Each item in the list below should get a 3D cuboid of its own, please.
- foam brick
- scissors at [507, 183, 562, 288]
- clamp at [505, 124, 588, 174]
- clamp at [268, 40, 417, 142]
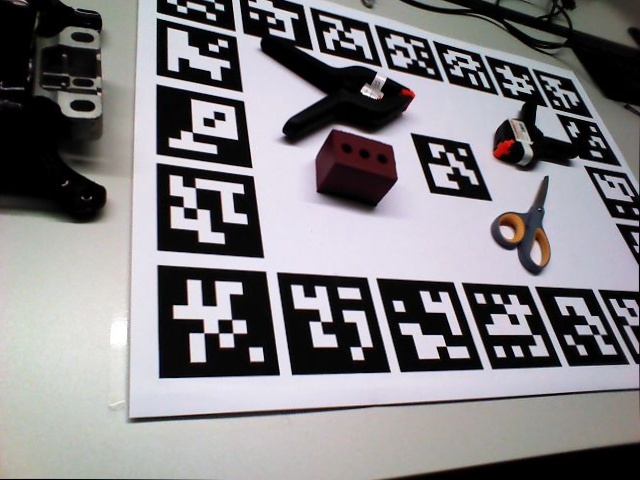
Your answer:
[{"bbox_3d":[0.050,-0.067,0.583,0.078,0.052,0.052,9,58,-16],"label":"foam brick"},{"bbox_3d":[0.303,-0.024,0.699,0.088,0.016,0.201,42,49,-7],"label":"scissors"},{"bbox_3d":[0.339,-0.146,0.792,0.164,0.037,0.122,-25,81,-35],"label":"clamp"},{"bbox_3d":[0.044,-0.180,0.659,0.202,0.037,0.165,1,57,-27],"label":"clamp"}]
